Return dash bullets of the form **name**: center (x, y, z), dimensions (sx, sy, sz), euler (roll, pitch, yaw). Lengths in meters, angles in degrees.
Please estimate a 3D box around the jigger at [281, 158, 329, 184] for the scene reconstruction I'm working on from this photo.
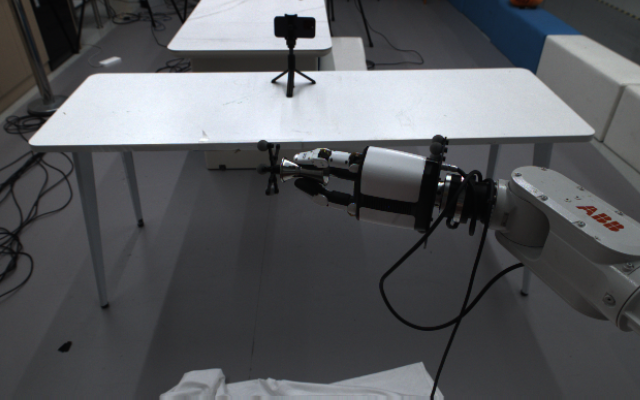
- **jigger**: center (-0.016, -0.048, 0.736), dimensions (0.071, 0.043, 0.043), euler (3, 34, 12)
